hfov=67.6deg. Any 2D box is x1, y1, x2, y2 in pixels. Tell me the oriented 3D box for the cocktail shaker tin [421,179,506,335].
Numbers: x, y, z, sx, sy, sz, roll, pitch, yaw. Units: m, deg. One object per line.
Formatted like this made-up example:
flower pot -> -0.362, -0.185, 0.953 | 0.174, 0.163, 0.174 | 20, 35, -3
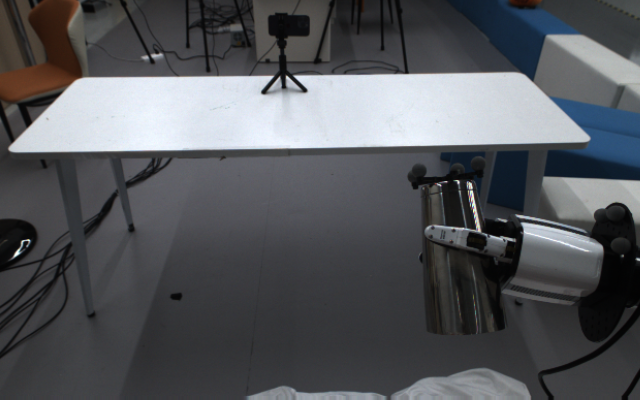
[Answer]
cocktail shaker tin -> 0.164, 0.066, 0.577 | 0.093, 0.170, 0.093 | -6, -7, -1
